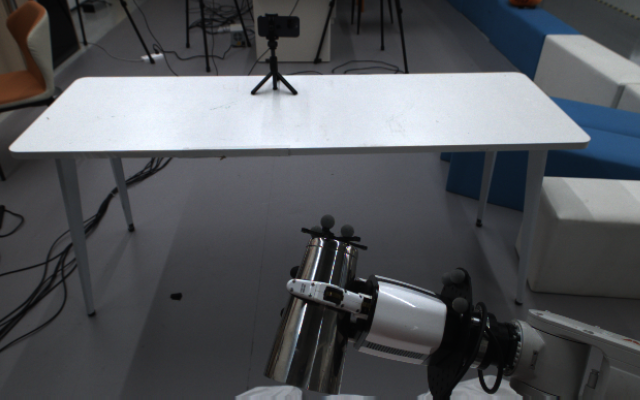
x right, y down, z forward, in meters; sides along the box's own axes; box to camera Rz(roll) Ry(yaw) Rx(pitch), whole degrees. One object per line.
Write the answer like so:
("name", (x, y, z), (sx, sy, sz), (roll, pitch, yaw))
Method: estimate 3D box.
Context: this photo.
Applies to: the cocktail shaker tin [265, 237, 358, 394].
("cocktail shaker tin", (-0.003, 0.138, 0.591), (0.093, 0.093, 0.170), (11, 74, 13))
